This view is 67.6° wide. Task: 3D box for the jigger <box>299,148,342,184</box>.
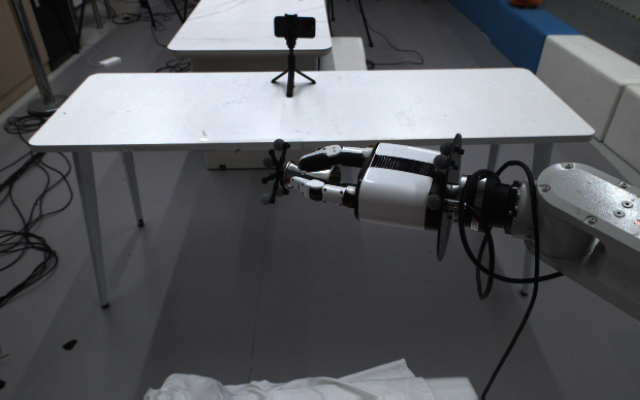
[{"bbox_3d":[-0.005,-0.033,0.663,0.071,0.043,0.043,10,35,22],"label":"jigger"}]
